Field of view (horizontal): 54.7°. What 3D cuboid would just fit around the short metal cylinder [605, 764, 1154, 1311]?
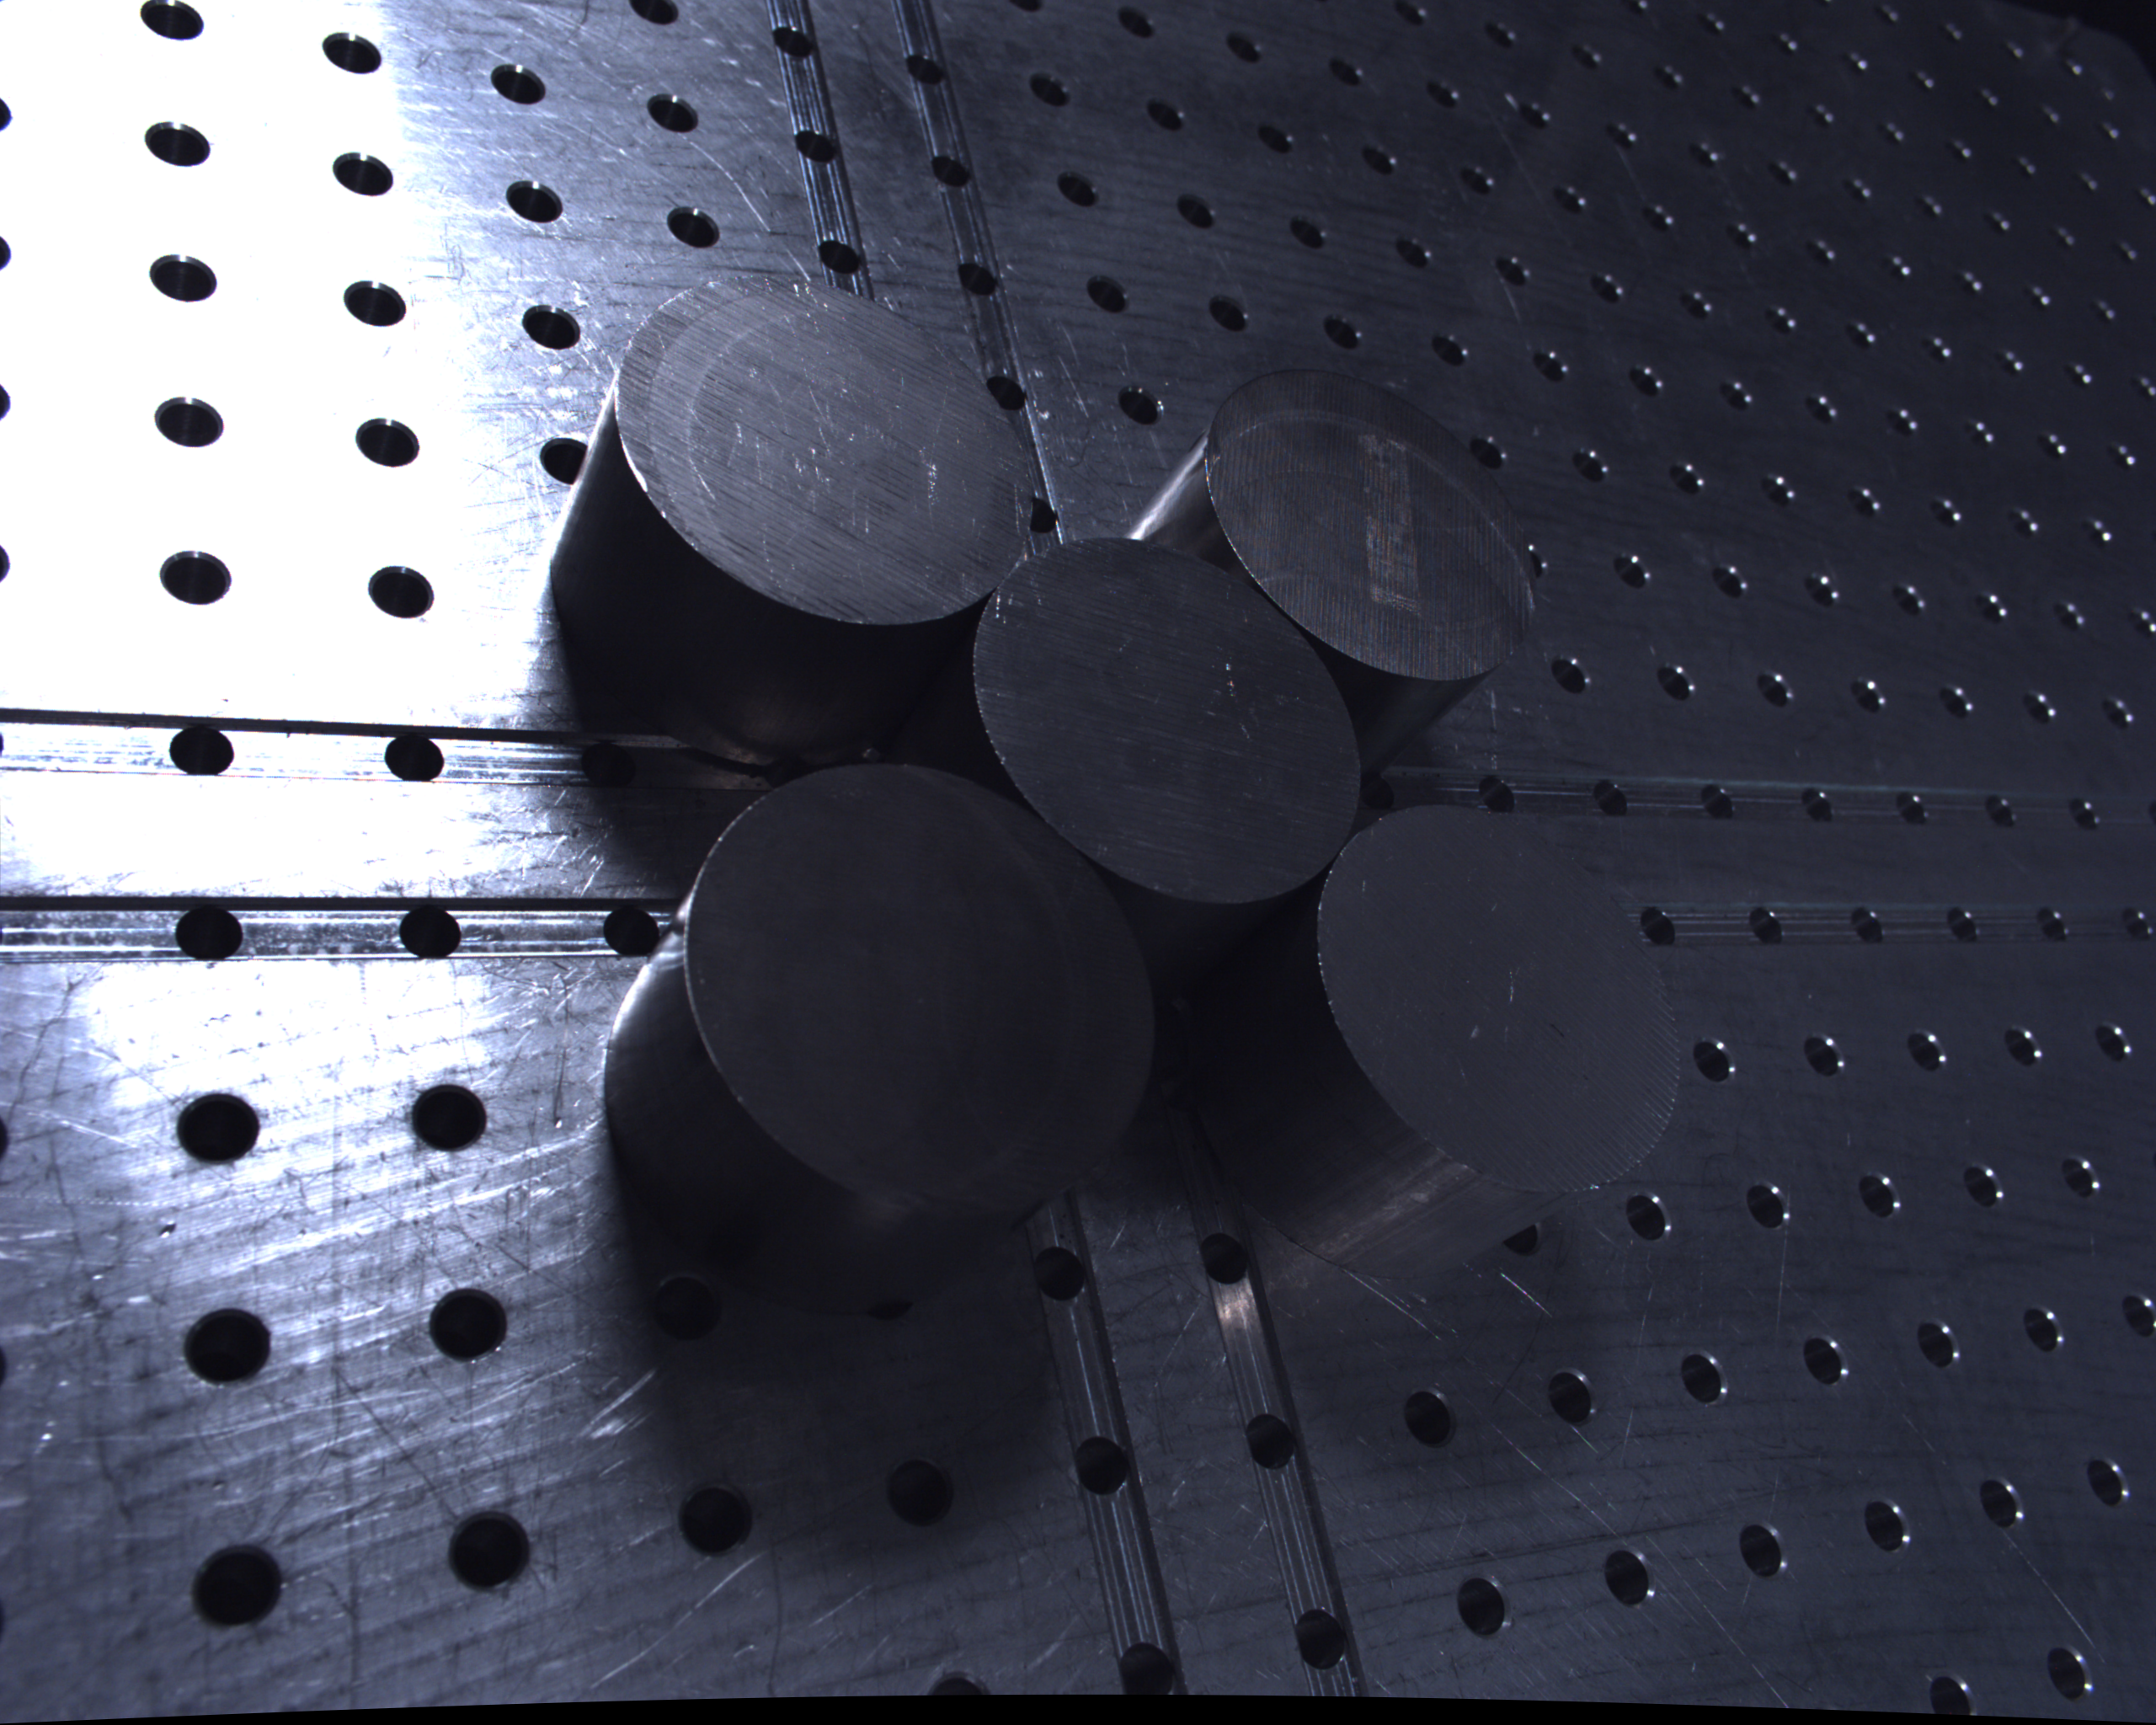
[{"bbox_3d":[-0.034,0.030,0.355,0.081,0.050,0.080,14,56,-21],"label":"short metal cylinder"}]

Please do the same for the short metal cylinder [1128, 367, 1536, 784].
[{"bbox_3d":[0.052,-0.061,0.456,0.081,0.050,0.080,14,56,-21],"label":"short metal cylinder"}]

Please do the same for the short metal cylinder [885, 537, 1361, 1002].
[{"bbox_3d":[0.007,-0.016,0.407,0.081,0.050,0.080,14,56,-21],"label":"short metal cylinder"}]

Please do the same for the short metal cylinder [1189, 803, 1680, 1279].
[{"bbox_3d":[0.069,0.035,0.409,0.081,0.050,0.080,14,56,-21],"label":"short metal cylinder"}]

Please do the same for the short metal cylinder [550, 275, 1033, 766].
[{"bbox_3d":[-0.056,-0.065,0.402,0.081,0.050,0.080,14,56,-21],"label":"short metal cylinder"}]
